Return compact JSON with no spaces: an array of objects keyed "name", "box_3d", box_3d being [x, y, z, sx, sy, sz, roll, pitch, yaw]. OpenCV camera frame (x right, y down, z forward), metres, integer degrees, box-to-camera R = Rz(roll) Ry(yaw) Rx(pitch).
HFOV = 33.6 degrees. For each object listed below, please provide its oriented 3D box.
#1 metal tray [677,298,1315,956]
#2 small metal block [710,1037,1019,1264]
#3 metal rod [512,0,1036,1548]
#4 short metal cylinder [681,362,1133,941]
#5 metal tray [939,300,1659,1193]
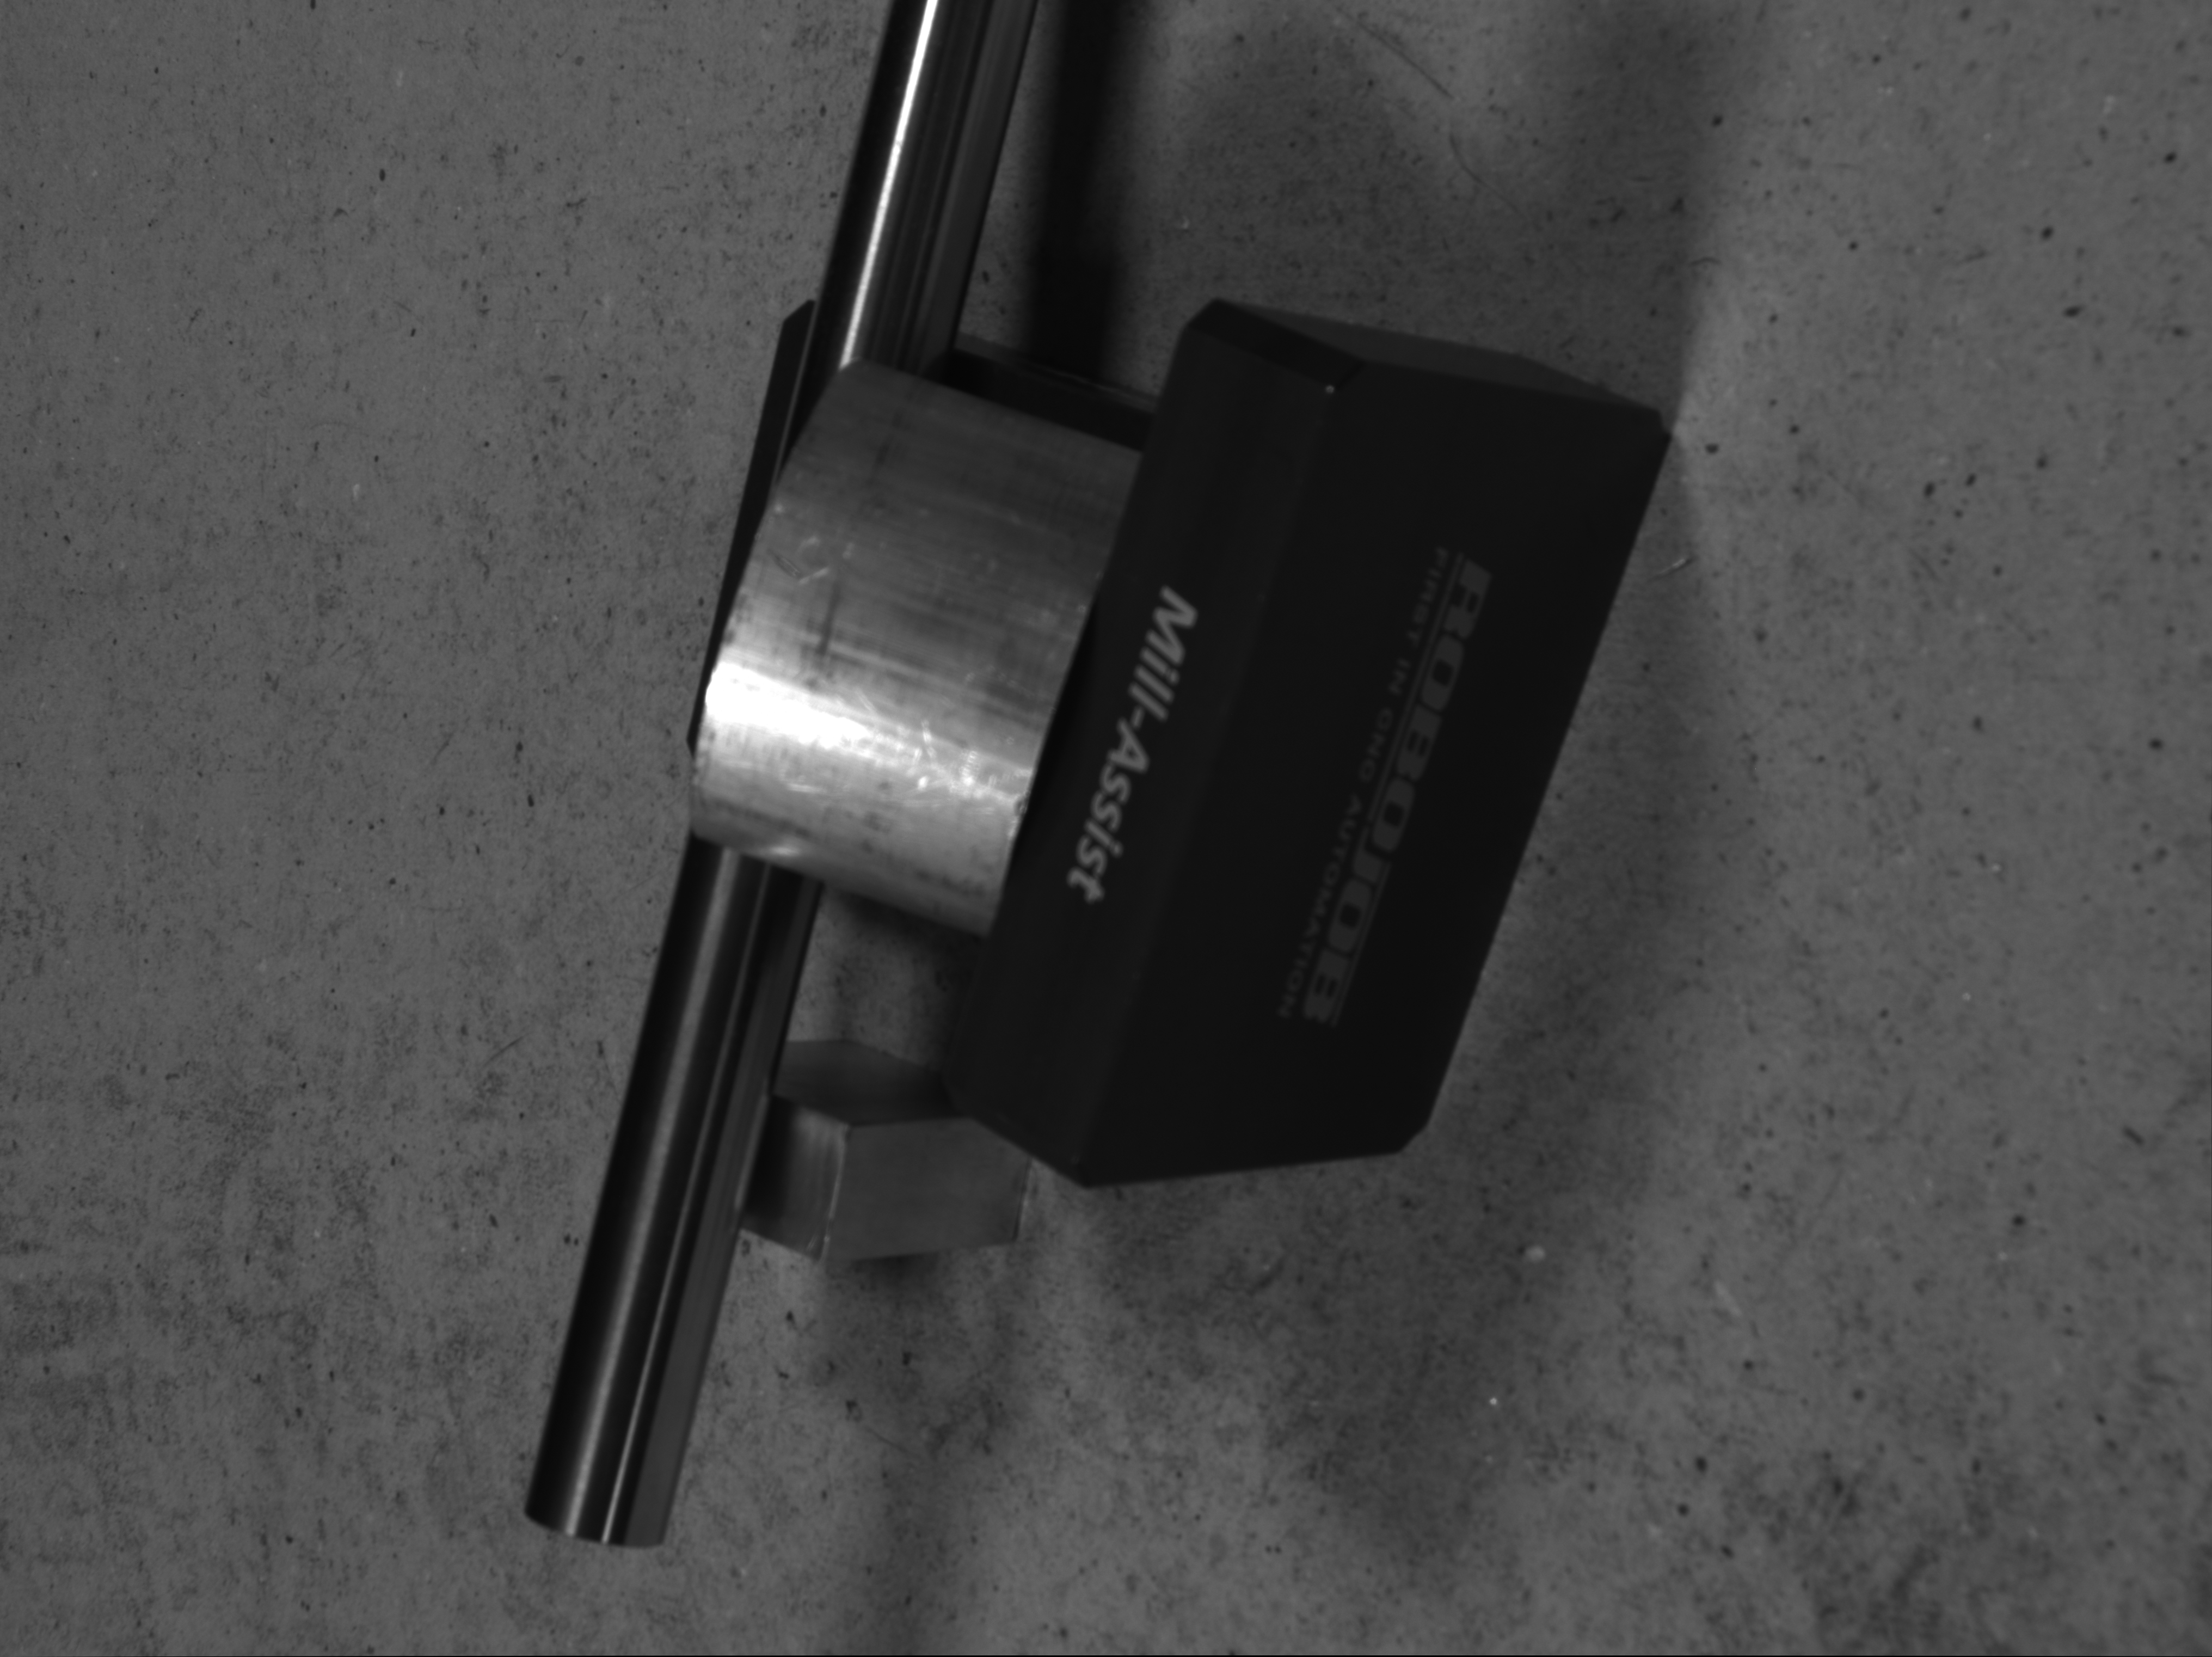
[{"name":"metal tray","box_3d":[-0.013,-0.034,0.644,0.130,0.030,0.090,23,104,37]},{"name":"small metal block","box_3d":[-0.051,0.057,0.661,0.050,0.050,0.025,16,100,38]},{"name":"metal rod","box_3d":[-0.054,-0.026,0.630,0.025,0.025,0.300,13,89,39]},{"name":"short metal cylinder","box_3d":[-0.028,-0.028,0.577,0.050,0.080,0.080,19,104,4]},{"name":"metal tray","box_3d":[0.031,-0.011,0.569,0.030,0.090,0.130,28,107,36]}]
